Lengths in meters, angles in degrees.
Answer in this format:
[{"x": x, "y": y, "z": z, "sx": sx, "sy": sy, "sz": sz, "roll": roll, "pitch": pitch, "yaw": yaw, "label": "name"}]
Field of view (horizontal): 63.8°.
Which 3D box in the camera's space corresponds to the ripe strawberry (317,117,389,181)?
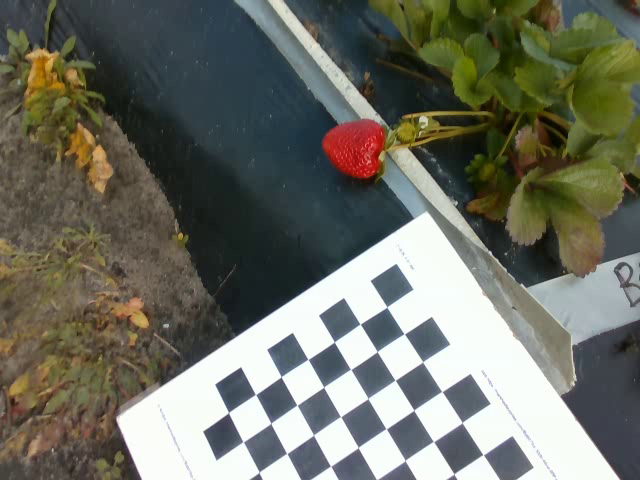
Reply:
[{"x": 0.023, "y": -0.062, "z": 0.348, "sx": 0.052, "sy": 0.048, "sz": 0.030, "roll": 9, "pitch": -10, "yaw": -12, "label": "ripe strawberry"}]
